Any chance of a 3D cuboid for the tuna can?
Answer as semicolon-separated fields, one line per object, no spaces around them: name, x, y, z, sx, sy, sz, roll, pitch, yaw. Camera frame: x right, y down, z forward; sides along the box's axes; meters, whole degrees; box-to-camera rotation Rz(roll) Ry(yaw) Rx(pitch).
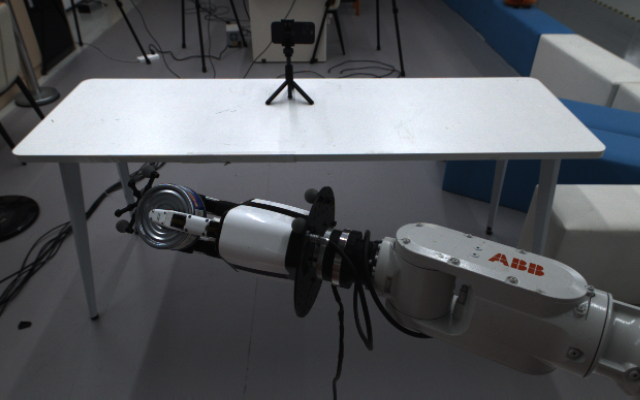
tuna can;-0.191;0.021;0.623;0.085;0.085;0.034;12;-3;14
